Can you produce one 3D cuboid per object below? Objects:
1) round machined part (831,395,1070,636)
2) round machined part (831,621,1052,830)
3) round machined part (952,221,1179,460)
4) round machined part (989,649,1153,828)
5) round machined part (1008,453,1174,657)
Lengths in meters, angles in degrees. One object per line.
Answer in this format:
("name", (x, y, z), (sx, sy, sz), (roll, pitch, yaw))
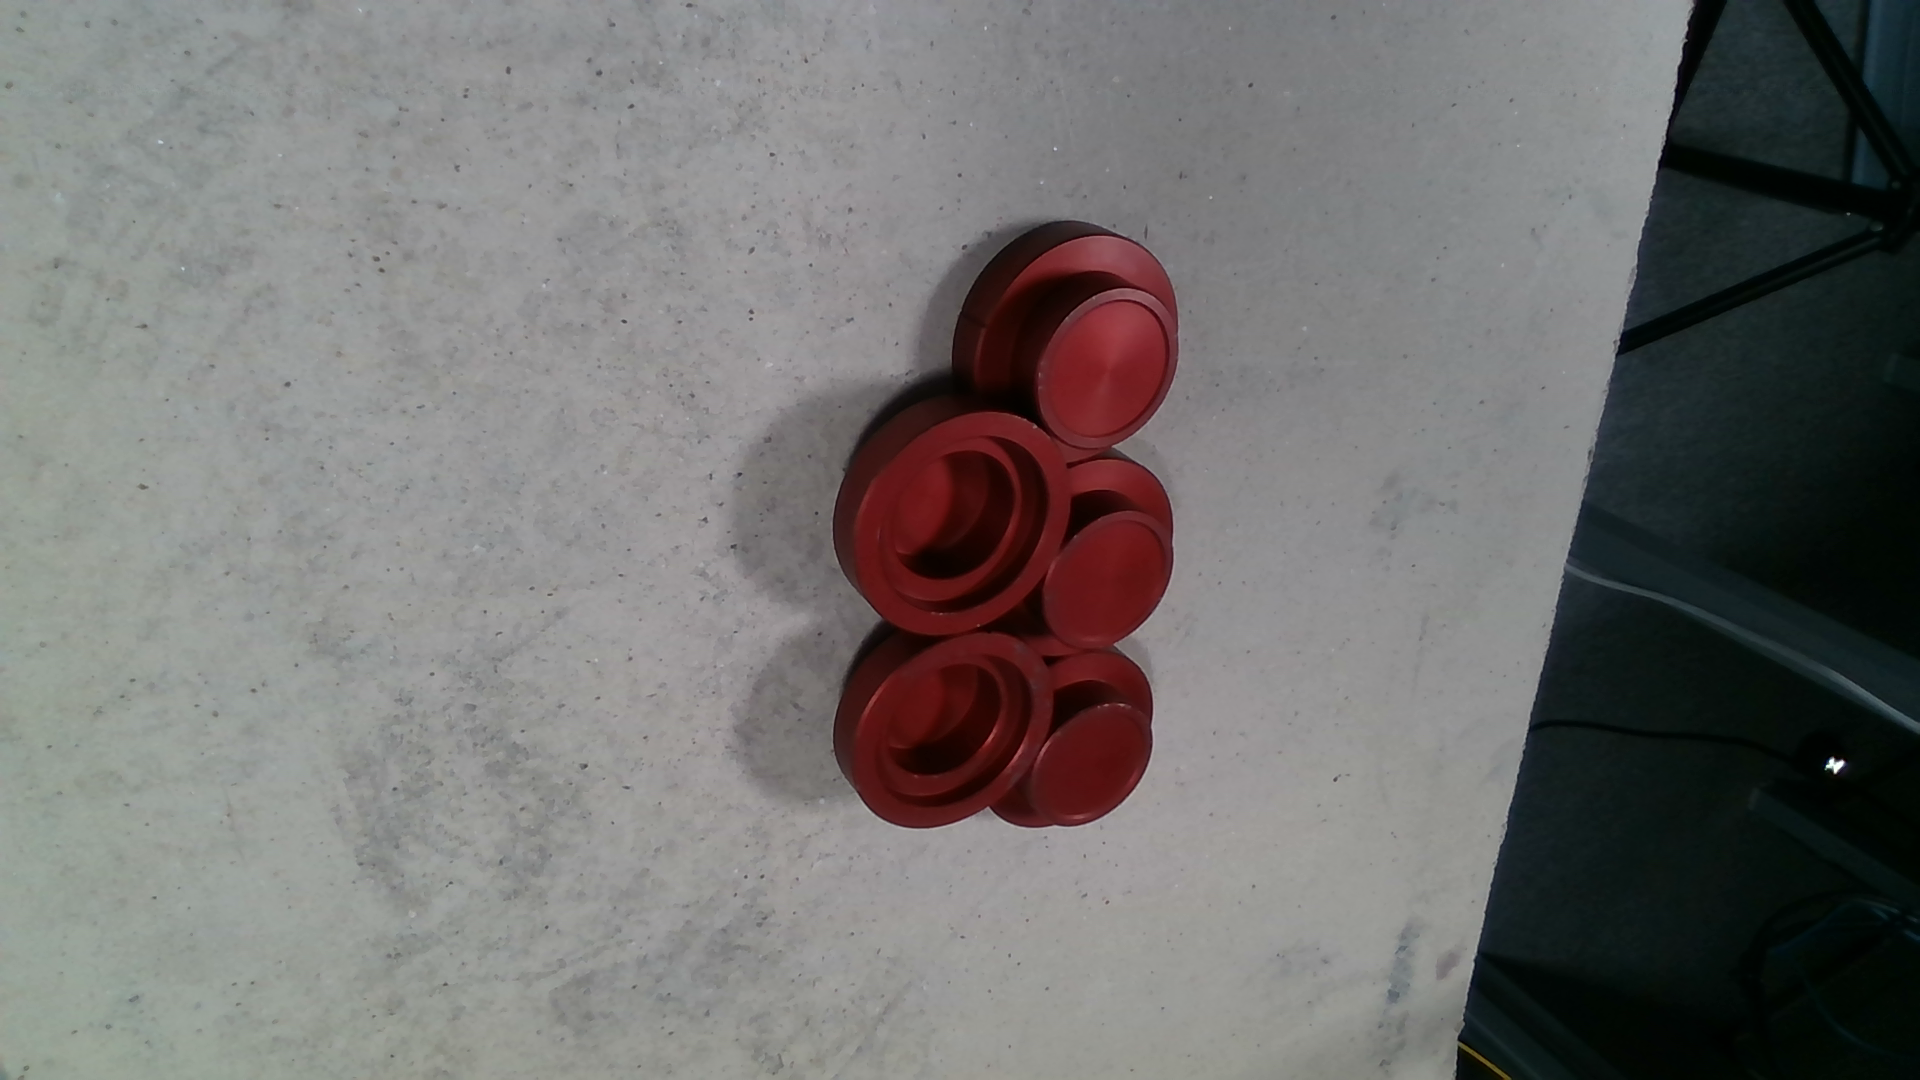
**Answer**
("round machined part", (-0.008, -0.014, 0.558), (0.098, 0.042, 0.098), (-14, 122, -25))
("round machined part", (-0.012, 0.074, 0.603), (0.098, 0.042, 0.098), (-14, 122, -25))
("round machined part", (0.049, -0.077, 0.559), (0.098, 0.042, 0.098), (-14, 122, -25))
("round machined part", (0.052, 0.097, 0.654), (0.098, 0.042, 0.098), (-14, 122, -25))
("round machined part", (0.055, 0.009, 0.609), (0.098, 0.042, 0.098), (-14, 122, -25))
